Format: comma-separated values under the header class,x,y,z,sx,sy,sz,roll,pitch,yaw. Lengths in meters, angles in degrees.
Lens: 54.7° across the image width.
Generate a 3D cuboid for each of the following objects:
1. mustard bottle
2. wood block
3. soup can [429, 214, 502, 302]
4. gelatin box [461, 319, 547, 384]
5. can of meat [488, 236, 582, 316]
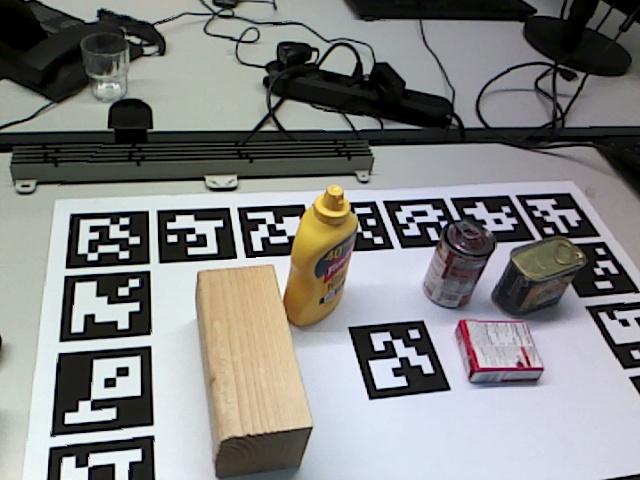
class,x,y,z,sx,sy,sz,roll,pitch,yaw
mustard bottle,0.005,0.020,0.735,0.096,0.191,0.059,-24,54,-32
wood block,-0.075,0.132,0.674,0.090,0.090,0.207,-1,42,-14
soup can,0.187,0.026,0.807,0.068,0.102,0.068,5,47,-6
gelatin box,0.225,0.137,0.762,0.089,0.030,0.073,3,47,-5
can of meat,0.283,0.050,0.827,0.101,0.083,0.058,-13,50,-25
